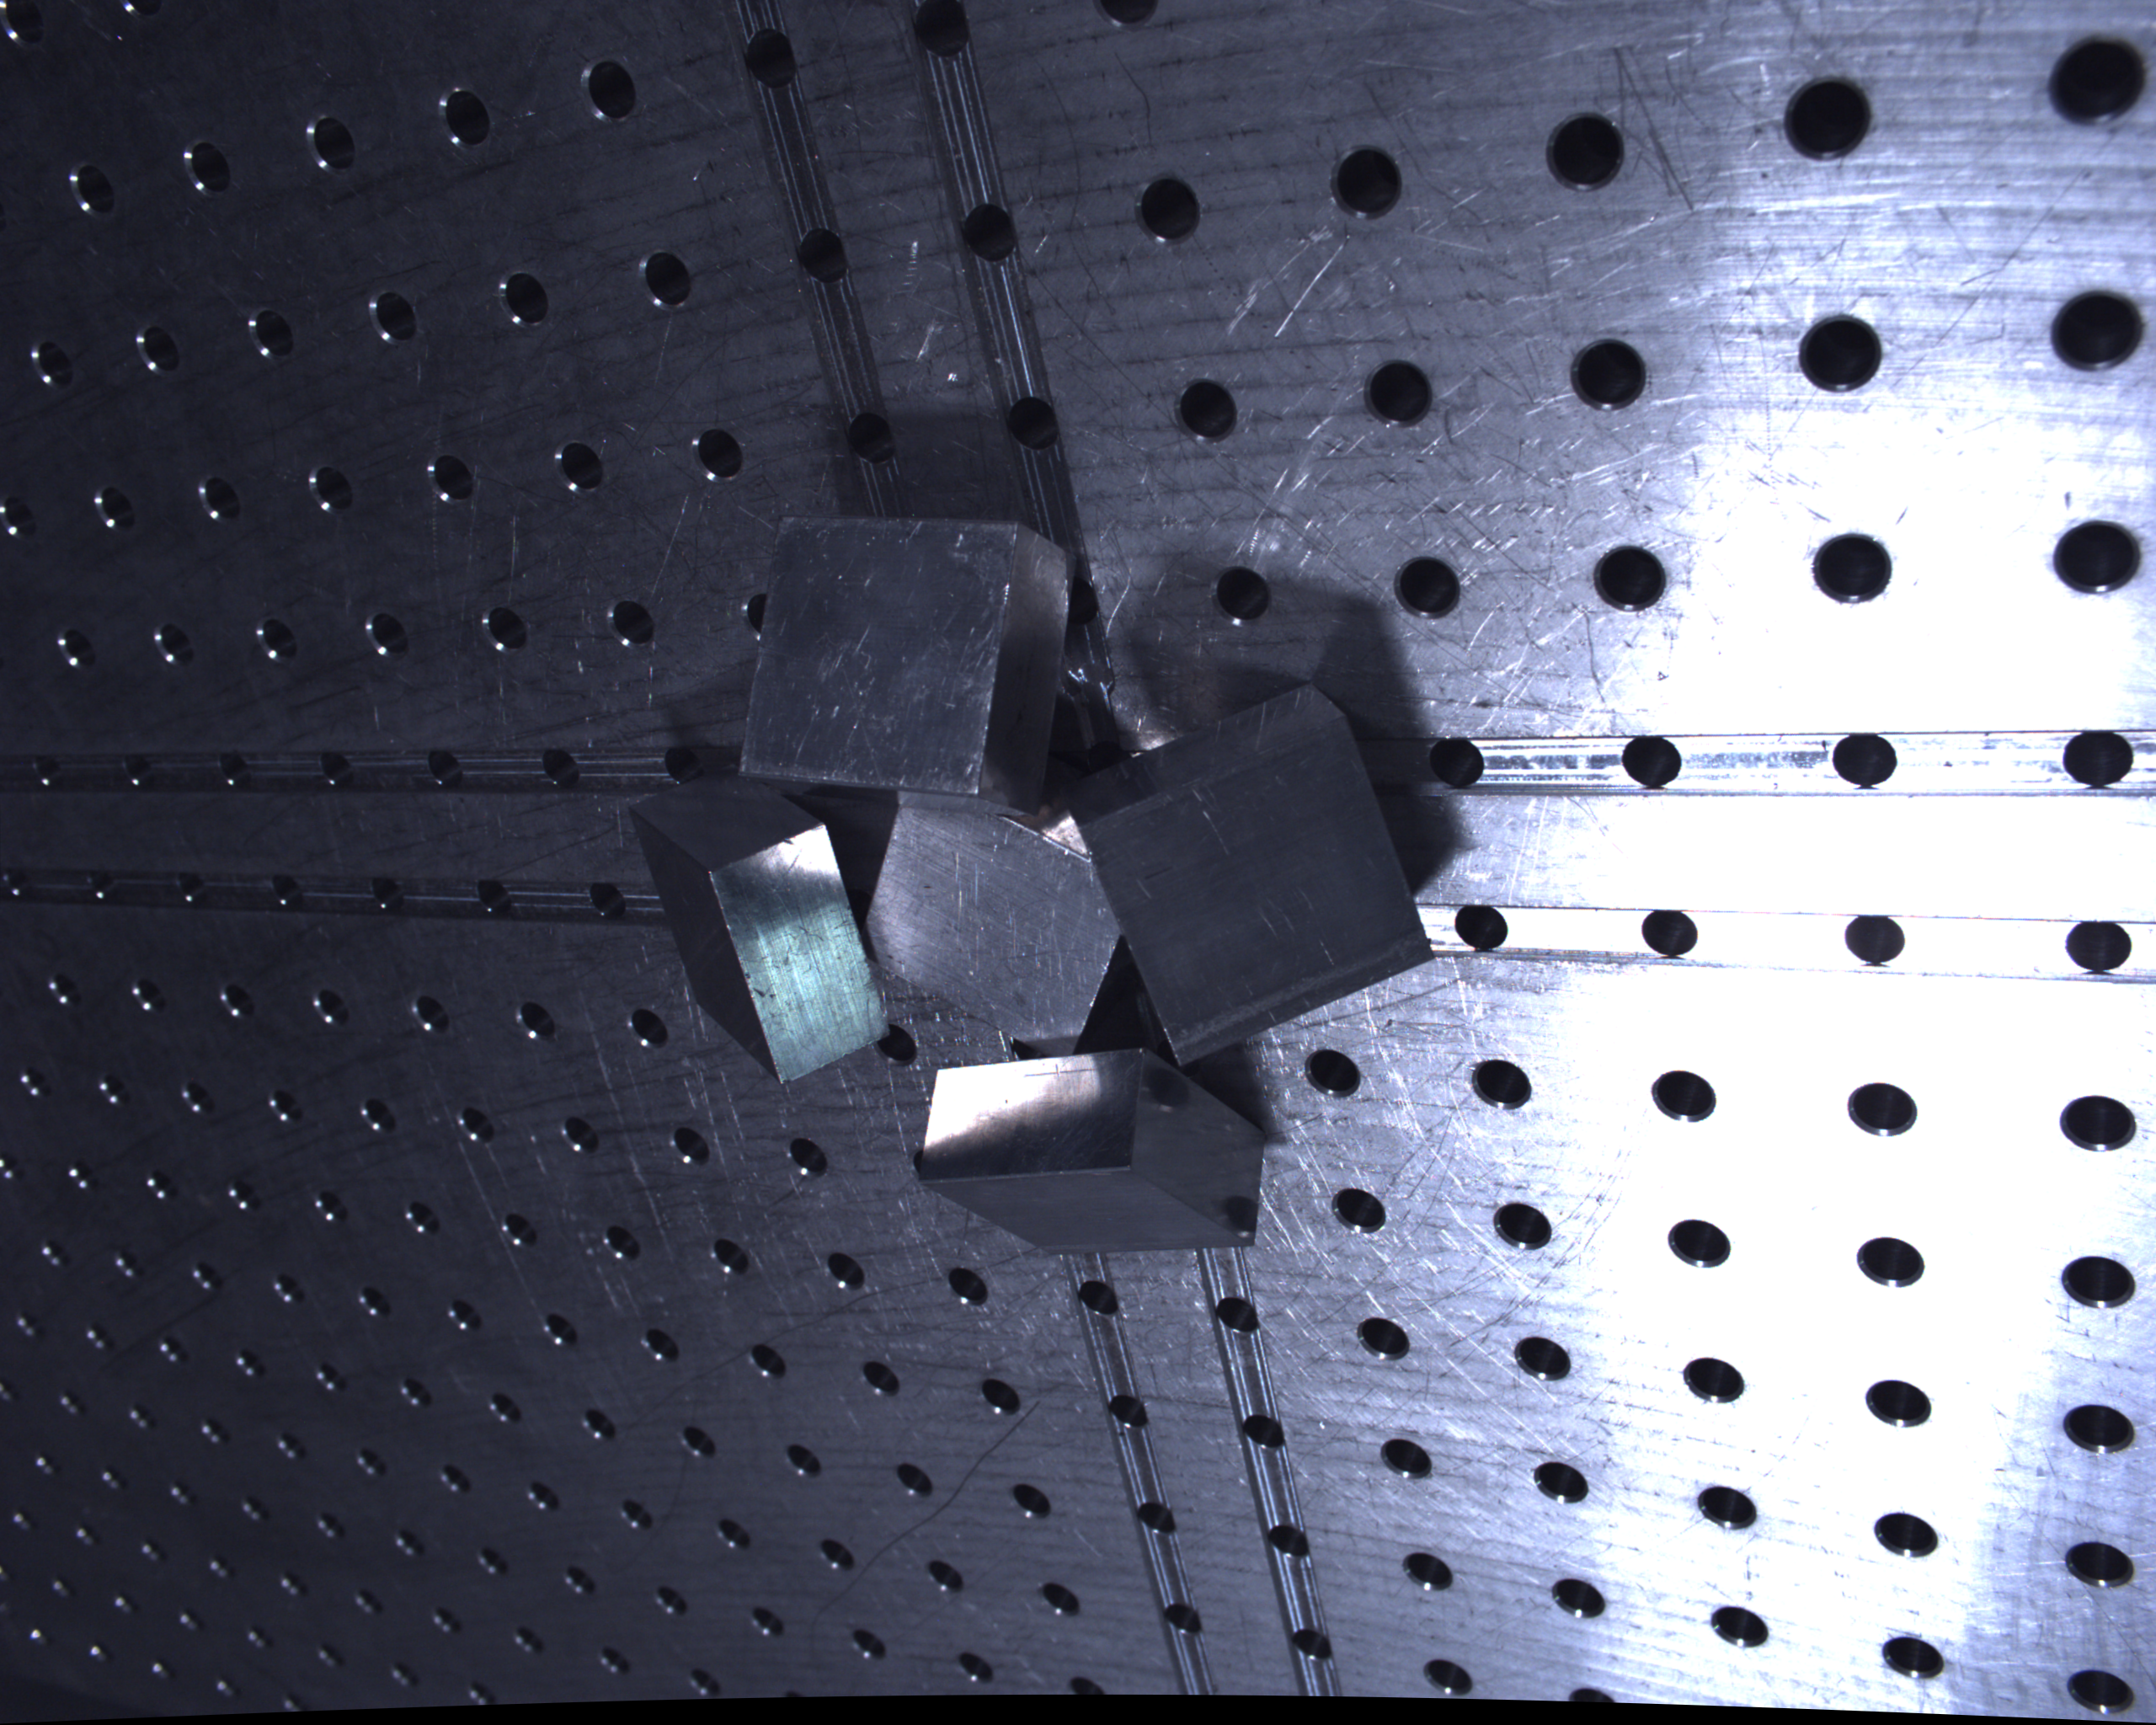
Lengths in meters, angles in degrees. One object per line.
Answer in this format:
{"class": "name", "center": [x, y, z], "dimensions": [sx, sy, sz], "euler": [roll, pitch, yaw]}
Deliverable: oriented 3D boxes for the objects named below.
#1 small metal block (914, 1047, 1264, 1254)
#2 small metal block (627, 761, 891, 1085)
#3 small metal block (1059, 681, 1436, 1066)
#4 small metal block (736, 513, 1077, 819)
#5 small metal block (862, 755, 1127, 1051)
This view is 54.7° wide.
{"class": "small metal block", "center": [0.003, 0.061, 0.430], "dimensions": [0.050, 0.025, 0.050], "euler": [-9, 150, 32]}
{"class": "small metal block", "center": [-0.067, 0.012, 0.437], "dimensions": [0.050, 0.025, 0.050], "euler": [29, 138, 56]}
{"class": "small metal block", "center": [0.031, 0.002, 0.380], "dimensions": [0.050, 0.025, 0.050], "euler": [-23, 110, -1]}
{"class": "small metal block", "center": [-0.032, -0.037, 0.388], "dimensions": [0.050, 0.025, 0.050], "euler": [6, 85, 25]}
{"class": "small metal block", "center": [-0.012, 0.006, 0.419], "dimensions": [0.050, 0.025, 0.050], "euler": [28, 128, 10]}
